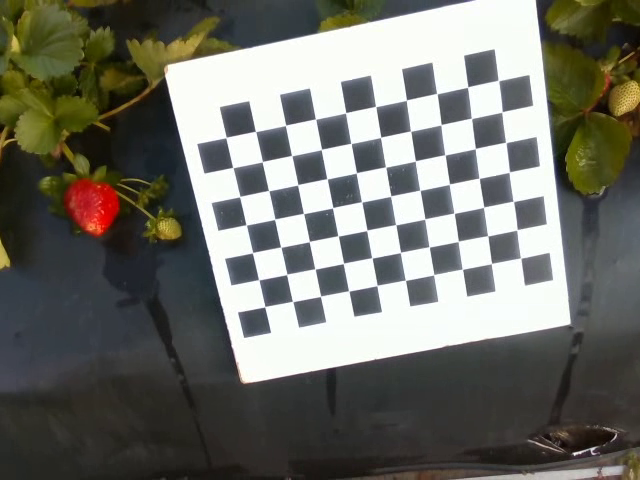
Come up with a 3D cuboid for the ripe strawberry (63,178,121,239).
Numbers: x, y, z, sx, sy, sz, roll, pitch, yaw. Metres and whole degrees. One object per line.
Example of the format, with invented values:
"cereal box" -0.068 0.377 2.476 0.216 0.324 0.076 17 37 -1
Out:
"ripe strawberry" -0.187 -0.023 0.494 0.043 0.057 0.052 -36 -50 11
